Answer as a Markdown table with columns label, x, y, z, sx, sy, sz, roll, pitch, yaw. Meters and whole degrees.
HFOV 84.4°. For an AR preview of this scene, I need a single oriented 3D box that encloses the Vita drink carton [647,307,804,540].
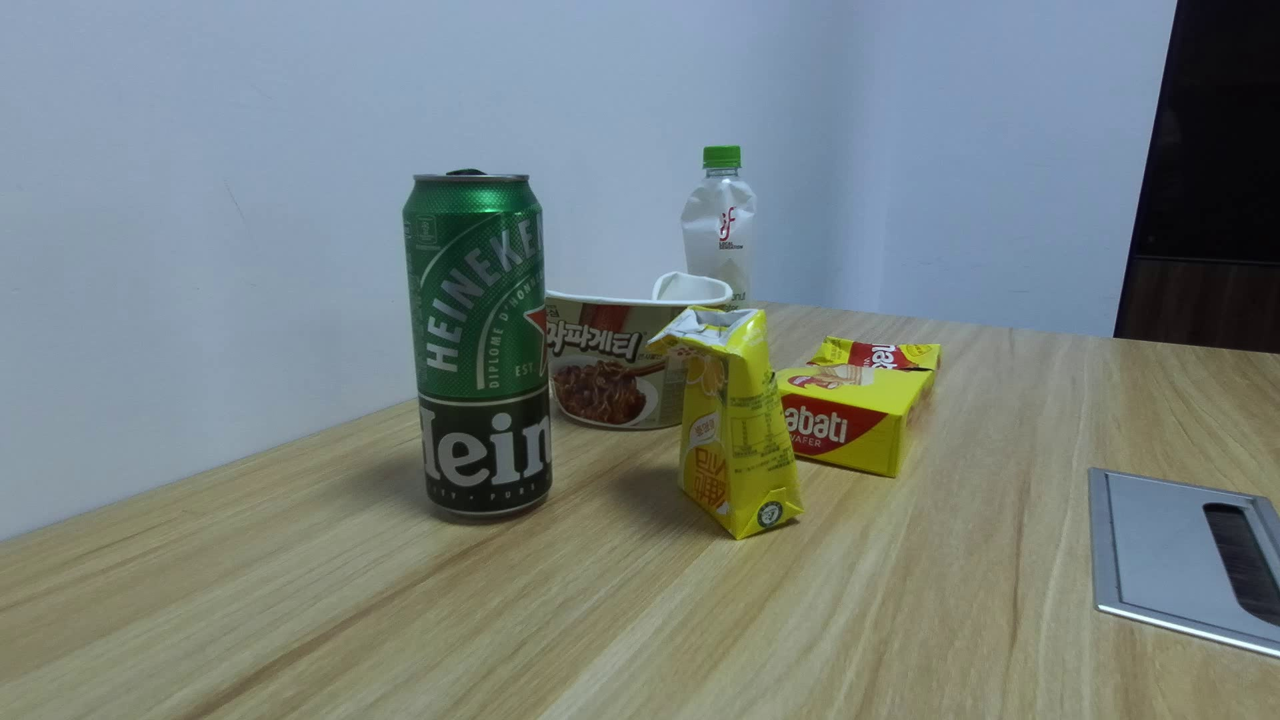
| label | x | y | z | sx | sy | sz | roll | pitch | yaw |
| --- | --- | --- | --- | --- | --- | --- | --- | --- | --- |
| Vita drink carton | 0.040 | 0.028 | 0.353 | 0.042 | 0.108 | 0.086 | -20 | 17 | -18 |

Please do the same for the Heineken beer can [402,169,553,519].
| label | x | y | z | sx | sy | sz | roll | pitch | yaw |
| --- | --- | --- | --- | --- | --- | --- | --- | --- | --- |
| Heineken beer can | -0.080 | -0.006 | 0.359 | 0.067 | 0.169 | 0.067 | 0 | 15 | 0 |

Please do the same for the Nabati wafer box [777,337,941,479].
| label | x | y | z | sx | sy | sz | roll | pitch | yaw |
| --- | --- | --- | --- | --- | --- | --- | --- | --- | --- |
| Nabati wafer box | 0.152 | 0.020 | 0.506 | 0.106 | 0.042 | 0.205 | 11 | 17 | 27 |

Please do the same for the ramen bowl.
| label | x | y | z | sx | sy | sz | roll | pitch | yaw |
| --- | --- | --- | --- | --- | --- | --- | --- | --- | --- |
| ramen bowl | -0.004 | -0.008 | 0.503 | 0.137 | 0.098 | 0.137 | -2 | 17 | 1 |

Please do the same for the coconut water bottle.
| label | x | y | z | sx | sy | sz | roll | pitch | yaw |
| --- | --- | --- | --- | --- | --- | --- | --- | --- | --- |
| coconut water bottle | 0.068 | -0.083 | 0.598 | 0.069 | 0.186 | 0.069 | 0 | 17 | 0 |
